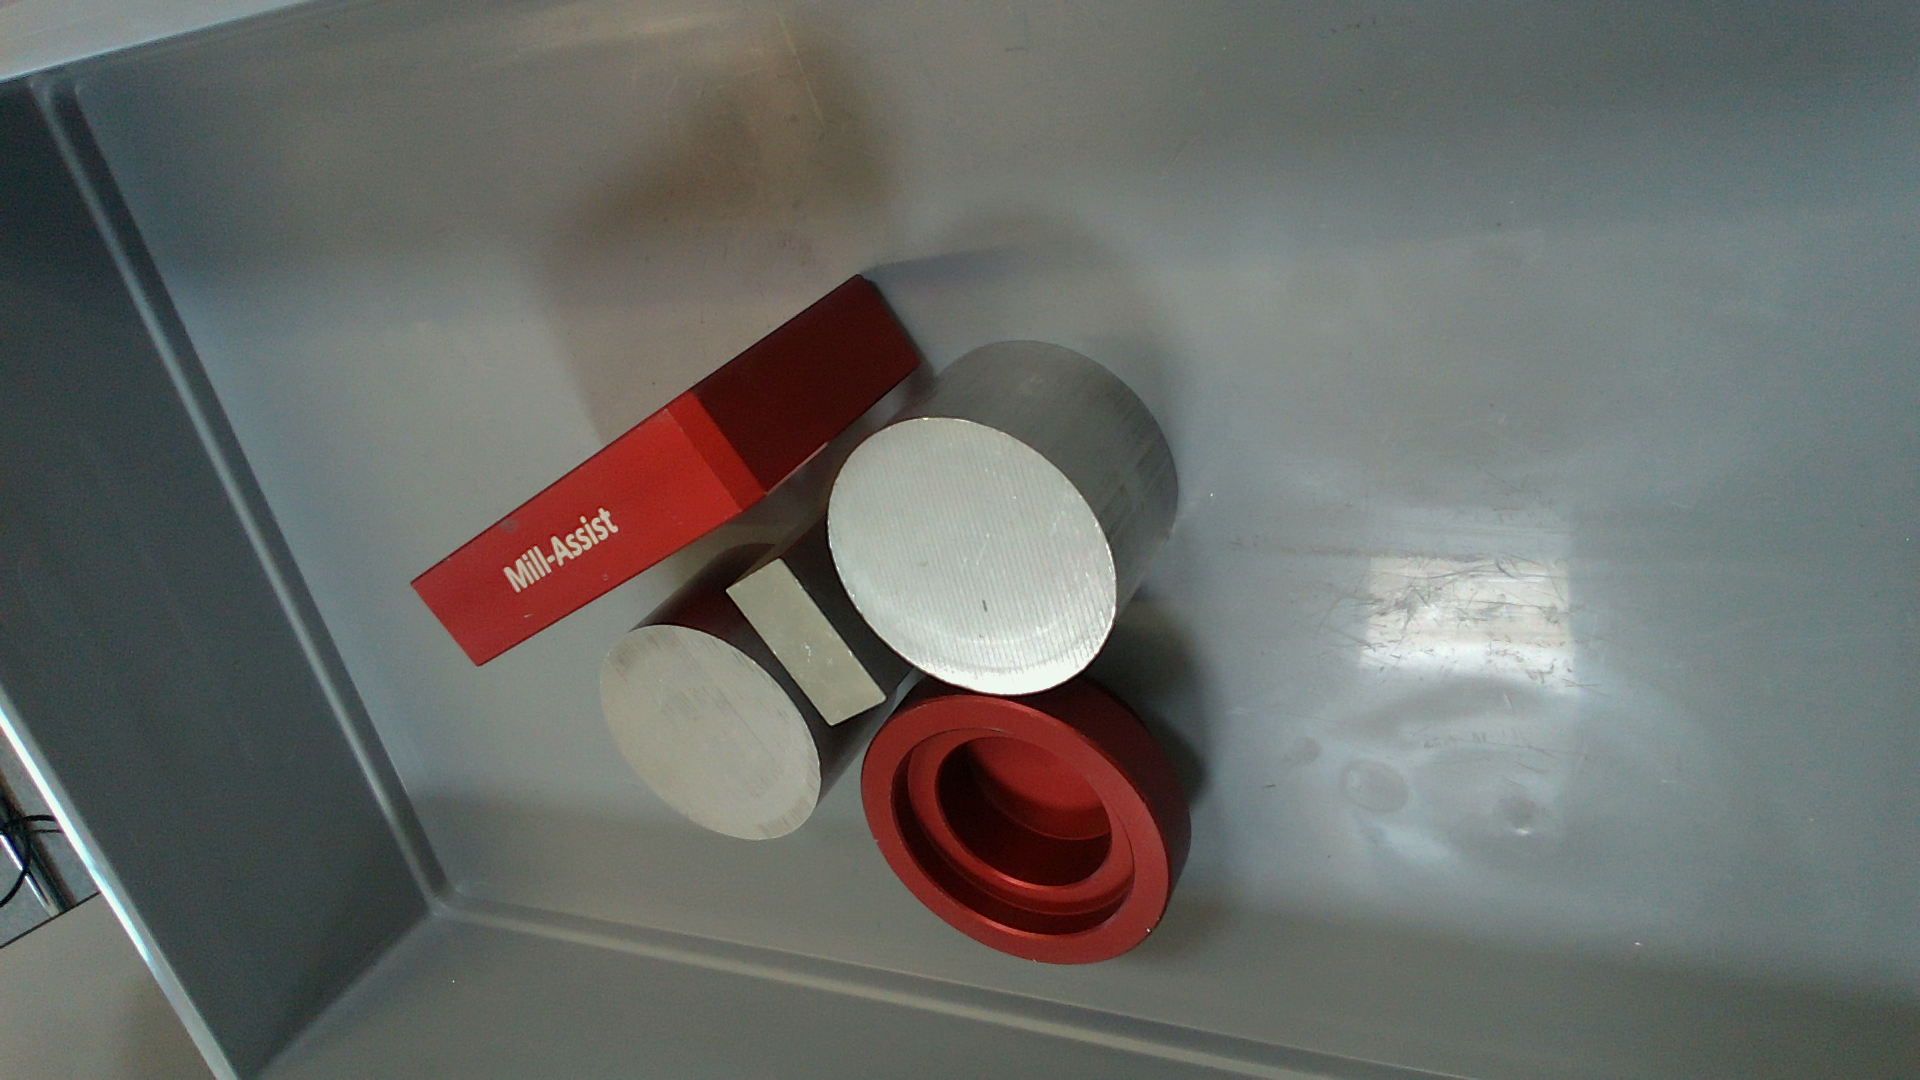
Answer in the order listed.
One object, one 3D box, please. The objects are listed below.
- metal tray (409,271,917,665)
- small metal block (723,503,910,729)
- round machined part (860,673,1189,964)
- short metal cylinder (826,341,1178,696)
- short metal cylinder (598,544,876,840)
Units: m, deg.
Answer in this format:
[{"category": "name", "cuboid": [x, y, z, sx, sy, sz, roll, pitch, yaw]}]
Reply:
[{"category": "metal tray", "cuboid": [-0.083, -0.019, 0.381, 0.129, 0.090, 0.030, -26, 104, 38]}, {"category": "small metal block", "cuboid": [-0.033, 0.018, 0.403, 0.025, 0.050, 0.050, -28, 103, 38]}, {"category": "round machined part", "cuboid": [0.023, 0.076, 0.415, 0.098, 0.042, 0.098, 13, 124, 21]}, {"category": "short metal cylinder", "cuboid": [0.012, -0.006, 0.365, 0.080, 0.050, 0.080, 13, 124, 21]}, {"category": "short metal cylinder", "cuboid": [-0.067, 0.048, 0.441, 0.080, 0.050, 0.080, 13, 124, 21]}]
